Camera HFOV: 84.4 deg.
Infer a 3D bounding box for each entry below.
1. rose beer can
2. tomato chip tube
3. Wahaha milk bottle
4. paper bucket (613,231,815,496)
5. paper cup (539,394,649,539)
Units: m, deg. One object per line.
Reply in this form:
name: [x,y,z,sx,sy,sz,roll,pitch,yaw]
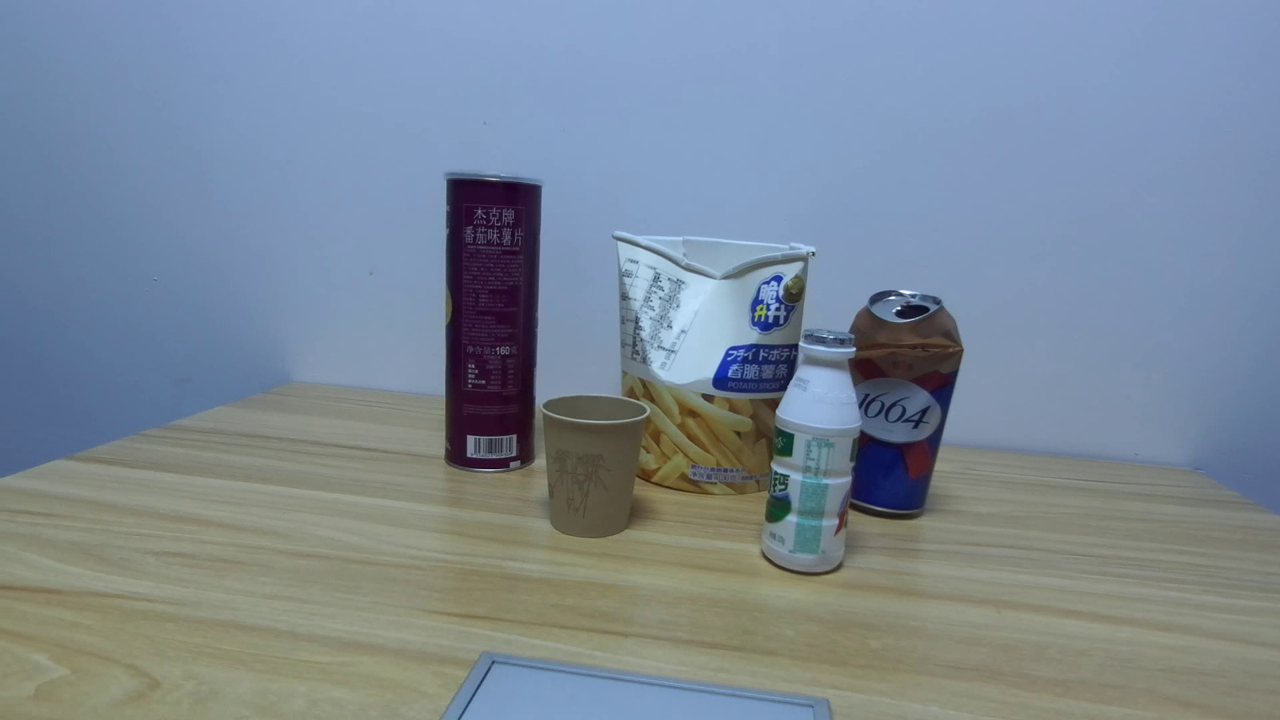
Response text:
rose beer can: [0.192,0.034,0.538,0.069,0.168,0.069,2,14,-8]
tomato chip tube: [-0.122,-0.031,0.587,0.078,0.233,0.078,3,10,0]
Wahaha milk bottle: [0.108,0.056,0.438,0.053,0.147,0.053,3,11,0]
paper bucket: [0.054,-0.004,0.604,0.162,0.202,0.169,3,9,7]
paper cup: [-0.032,0.072,0.482,0.075,0.082,0.075,4,11,0]
